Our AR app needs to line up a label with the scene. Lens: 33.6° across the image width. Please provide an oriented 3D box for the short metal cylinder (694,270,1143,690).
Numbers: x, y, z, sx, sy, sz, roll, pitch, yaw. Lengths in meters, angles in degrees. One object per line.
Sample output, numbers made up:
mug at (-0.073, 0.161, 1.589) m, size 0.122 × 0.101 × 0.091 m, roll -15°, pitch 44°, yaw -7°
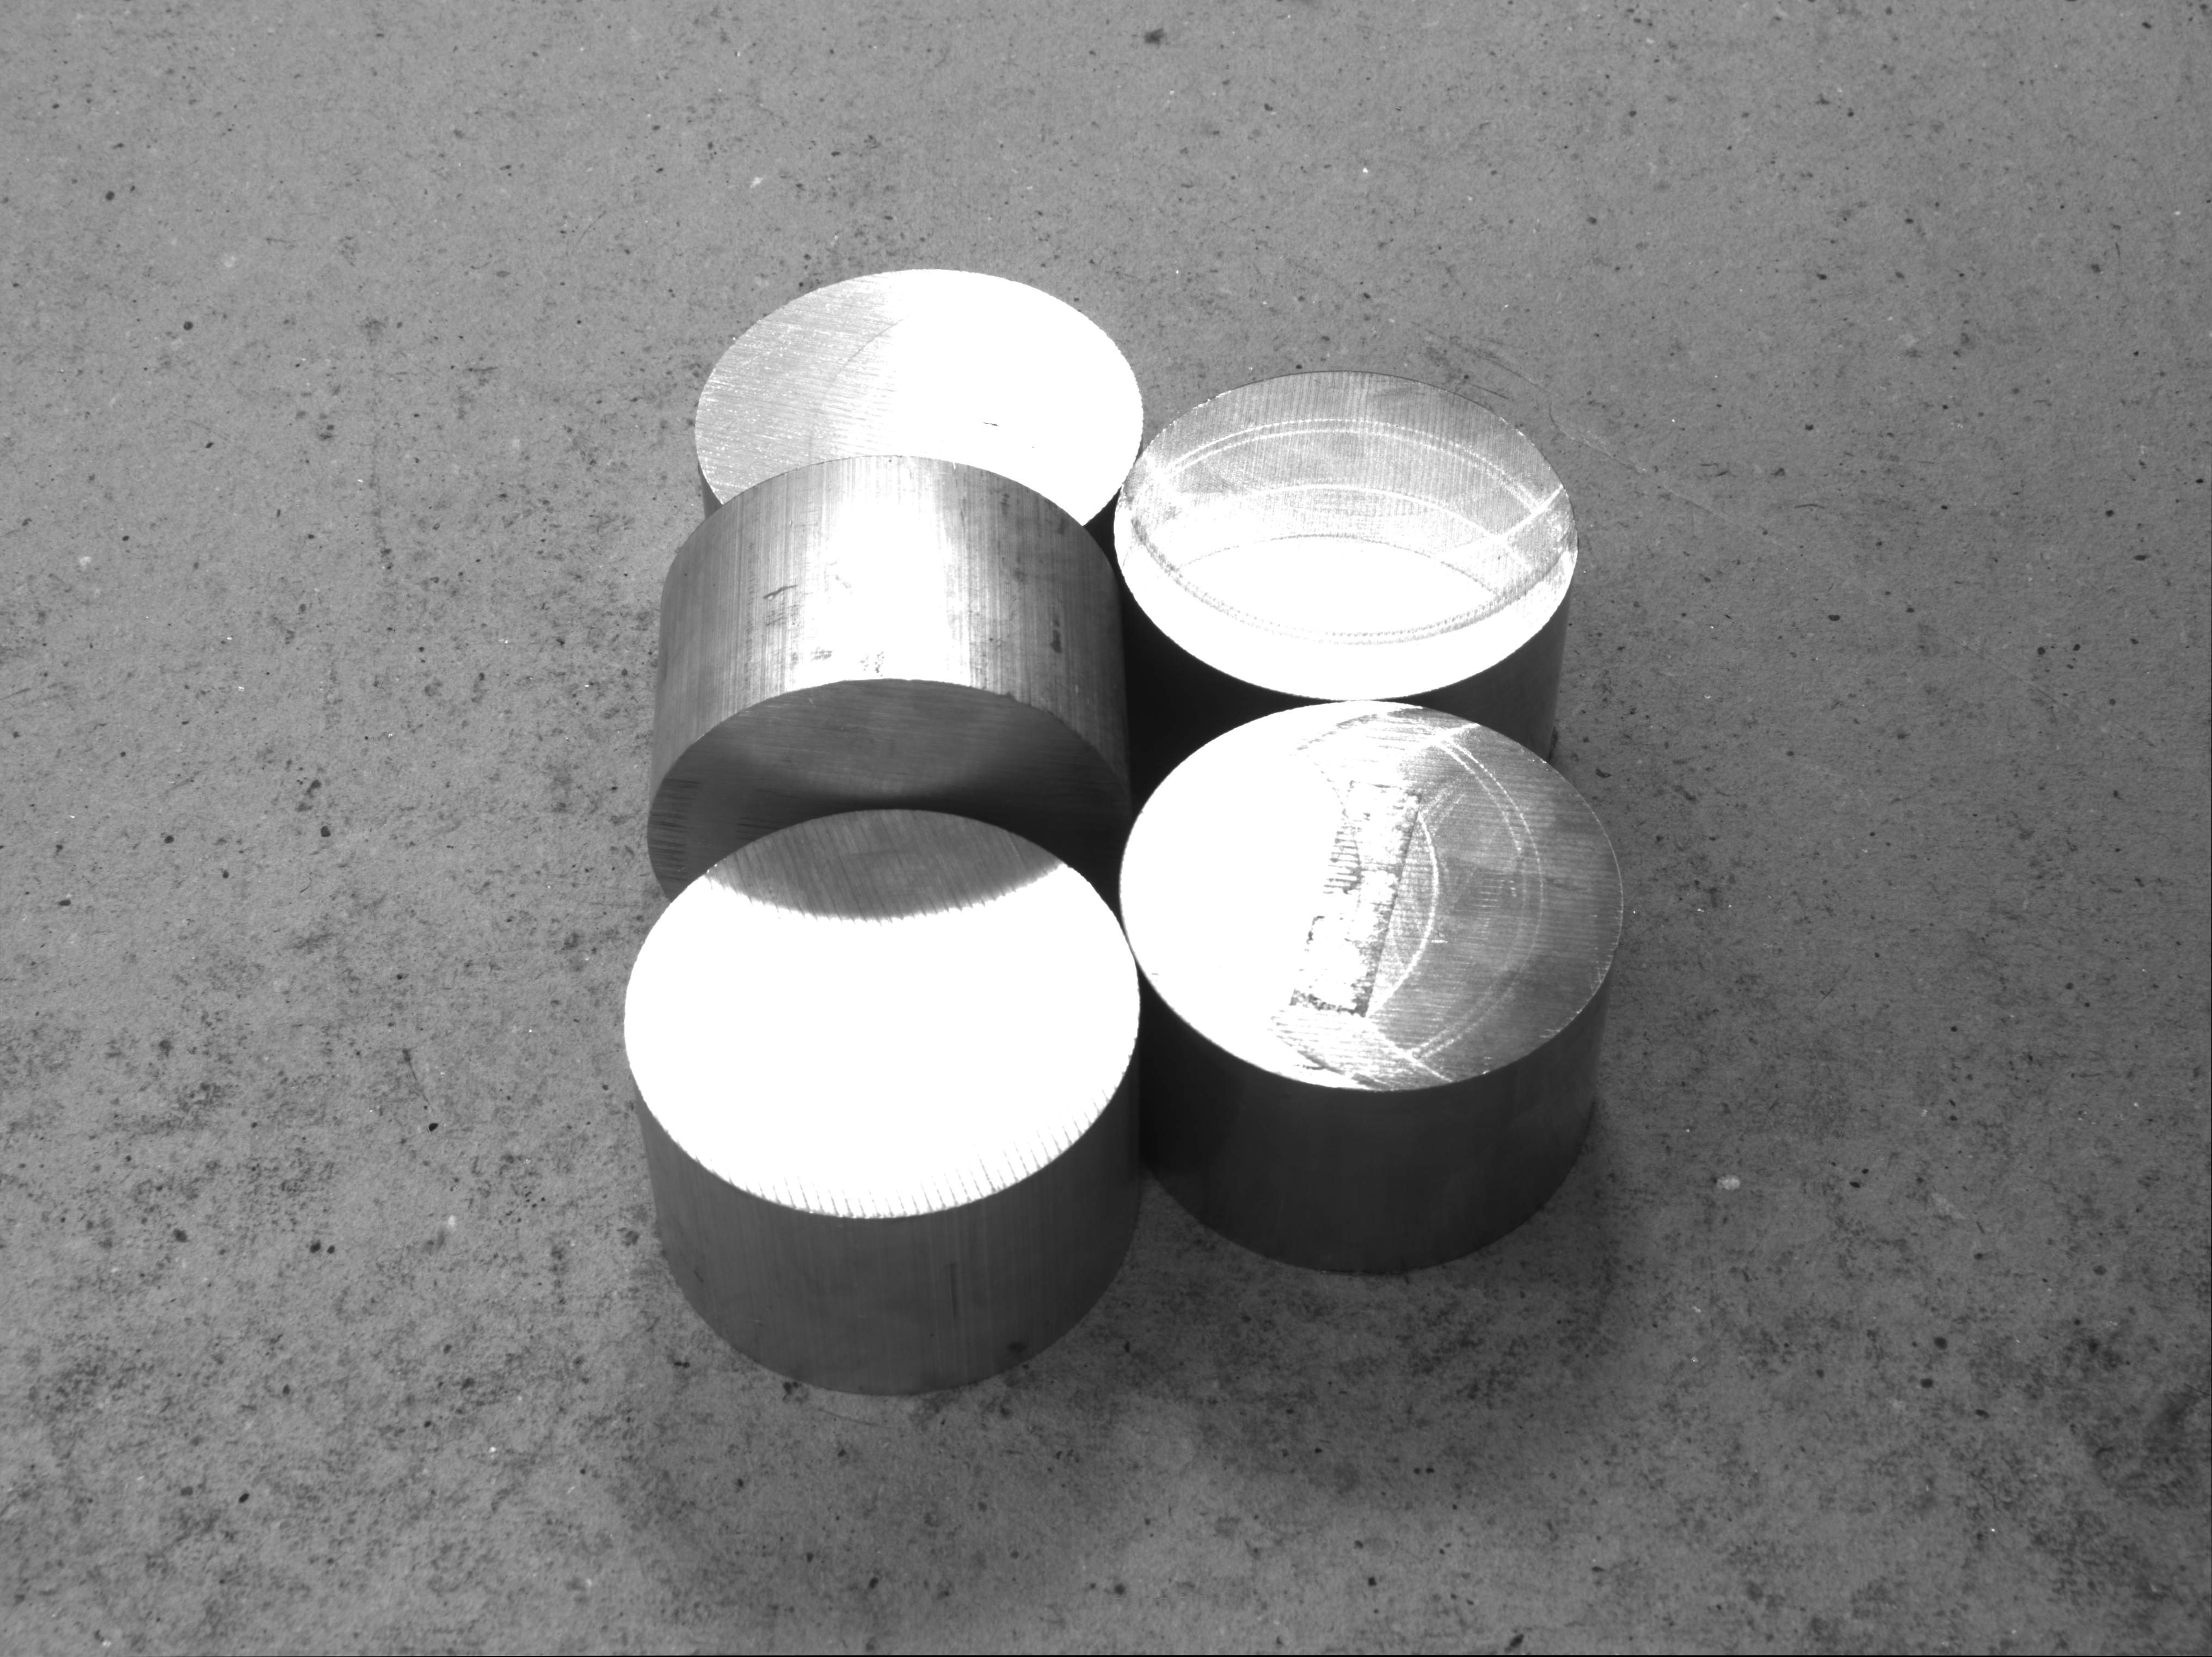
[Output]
short metal cylinder at (-0.033, -0.057, 0.674) m, size 0.080 × 0.050 × 0.080 m, roll 0°, pitch 50°, yaw 1°

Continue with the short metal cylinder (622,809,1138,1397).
short metal cylinder at (-0.035, 0.043, 0.589) m, size 0.080 × 0.050 × 0.080 m, roll 0°, pitch 50°, yaw 1°

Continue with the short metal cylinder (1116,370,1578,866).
short metal cylinder at (0.042, -0.036, 0.655) m, size 0.080 × 0.050 × 0.080 m, roll 0°, pitch 50°, yaw 0°

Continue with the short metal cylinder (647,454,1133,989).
short metal cylinder at (-0.037, -0.017, 0.620) m, size 0.080 × 0.080 × 0.050 m, roll -2°, pitch 50°, yaw -2°

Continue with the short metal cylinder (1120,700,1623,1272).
short metal cylinder at (0.043, 0.025, 0.603) m, size 0.080 × 0.050 × 0.080 m, roll 0°, pitch 50°, yaw 1°
